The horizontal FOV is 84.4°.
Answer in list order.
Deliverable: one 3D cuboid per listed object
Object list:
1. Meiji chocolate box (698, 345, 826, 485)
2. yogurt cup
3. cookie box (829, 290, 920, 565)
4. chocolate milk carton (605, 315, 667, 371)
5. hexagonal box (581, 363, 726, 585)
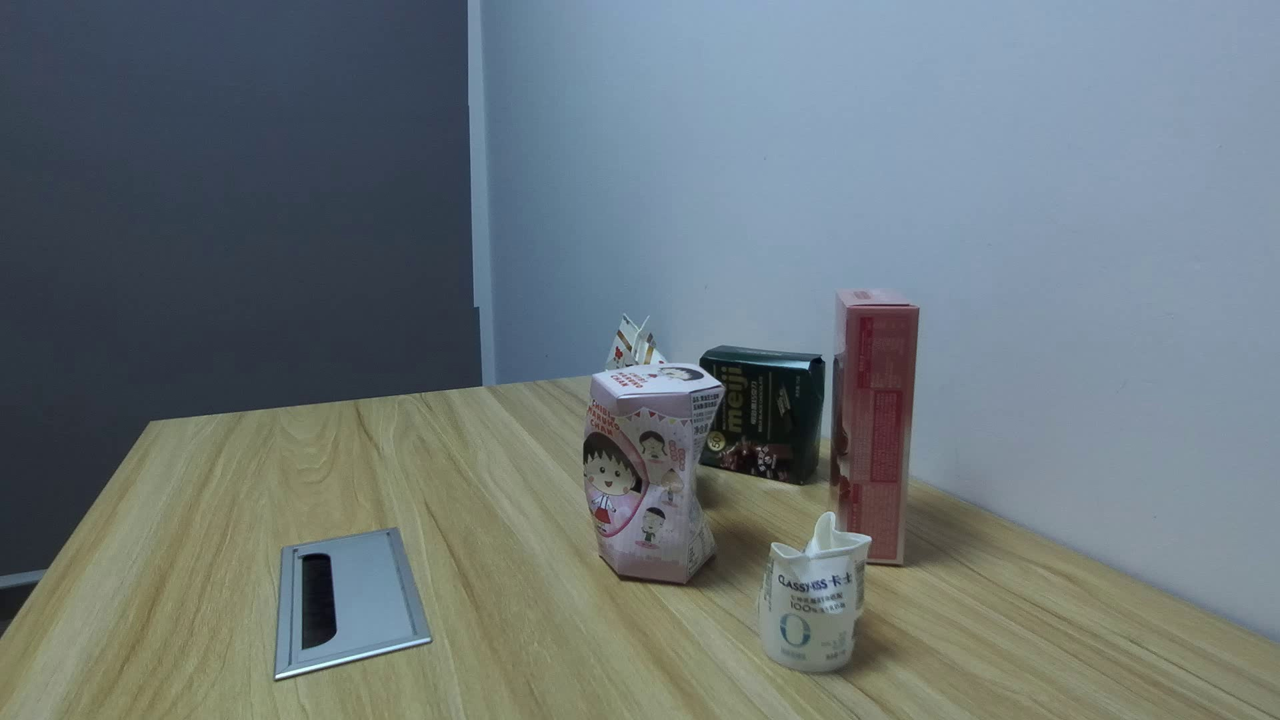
[{"bbox_3d":[0.113,0.047,0.662,0.122,0.116,0.059,9,17,30],"label":"Meiji chocolate box"},{"bbox_3d":[0.096,0.129,0.395,0.055,0.072,0.055,-4,17,-14],"label":"yogurt cup"},{"bbox_3d":[0.168,0.045,0.517,0.048,0.184,0.096,1,13,11],"label":"cookie box"},{"bbox_3d":[0.006,0.040,0.600,0.073,0.155,0.076,-2,20,-1],"label":"chocolate milk carton"},{"bbox_3d":[0.011,0.075,0.495,0.088,0.134,0.093,8,16,29],"label":"hexagonal box"}]
